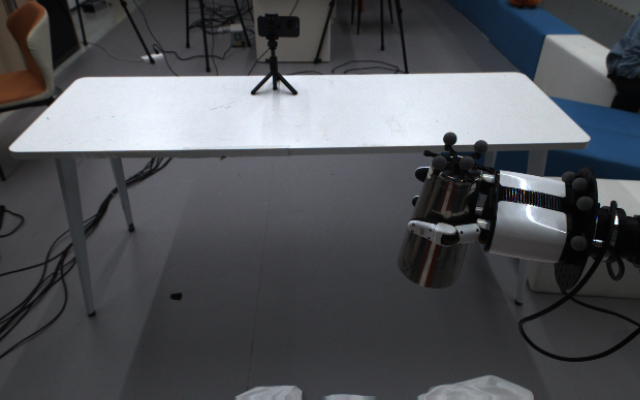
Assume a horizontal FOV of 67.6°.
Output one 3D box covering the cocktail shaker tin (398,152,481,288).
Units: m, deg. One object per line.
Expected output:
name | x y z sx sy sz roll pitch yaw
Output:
cocktail shaker tin | 0.168 0.026 0.661 0.093 0.170 0.093 4 36 -3
